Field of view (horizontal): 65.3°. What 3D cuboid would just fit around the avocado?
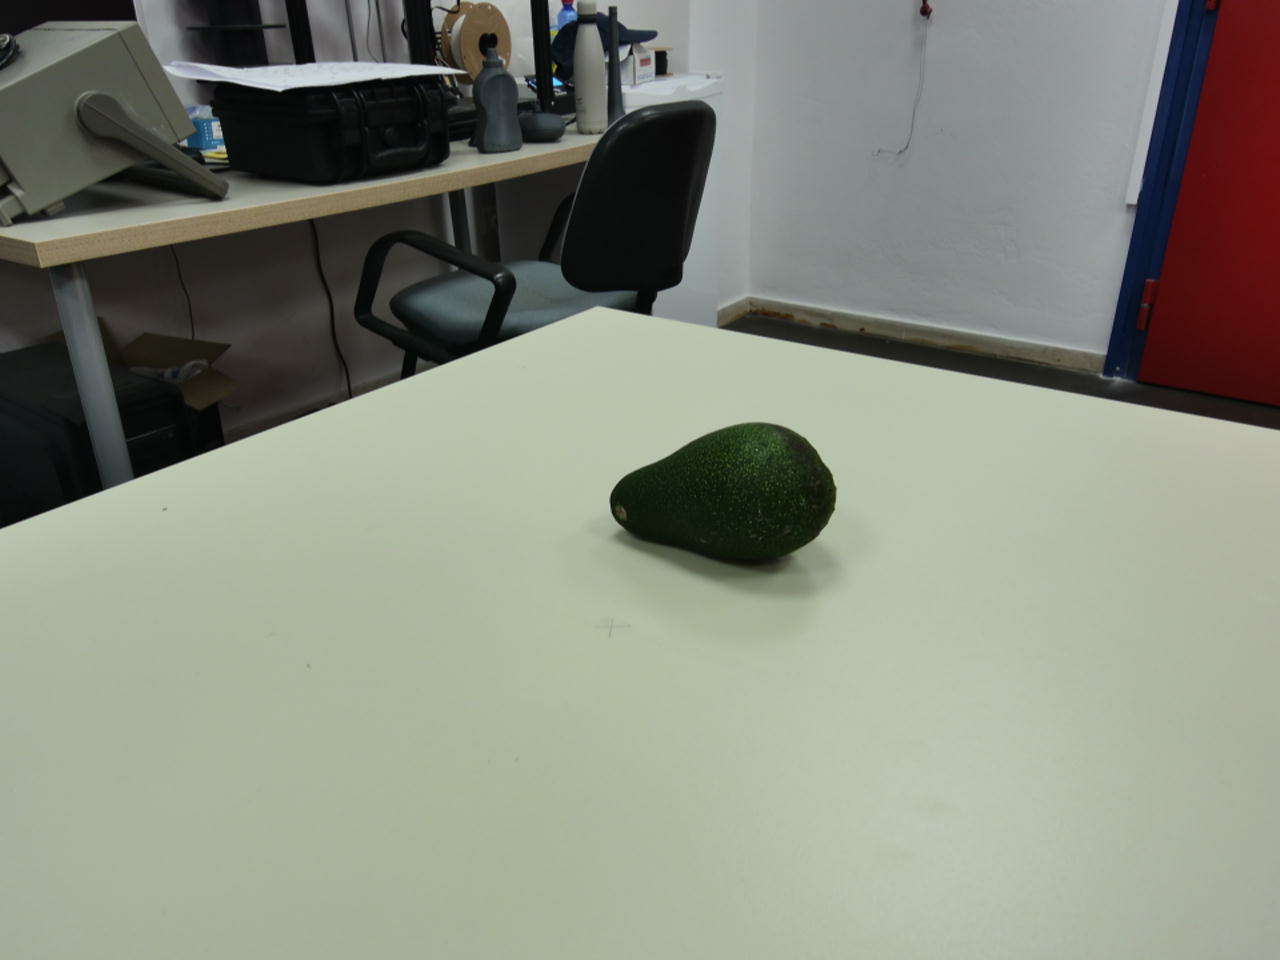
[{"bbox_3d":[0.048,0.002,0.537,0.123,0.076,0.074,21,31,39],"label":"avocado"}]
